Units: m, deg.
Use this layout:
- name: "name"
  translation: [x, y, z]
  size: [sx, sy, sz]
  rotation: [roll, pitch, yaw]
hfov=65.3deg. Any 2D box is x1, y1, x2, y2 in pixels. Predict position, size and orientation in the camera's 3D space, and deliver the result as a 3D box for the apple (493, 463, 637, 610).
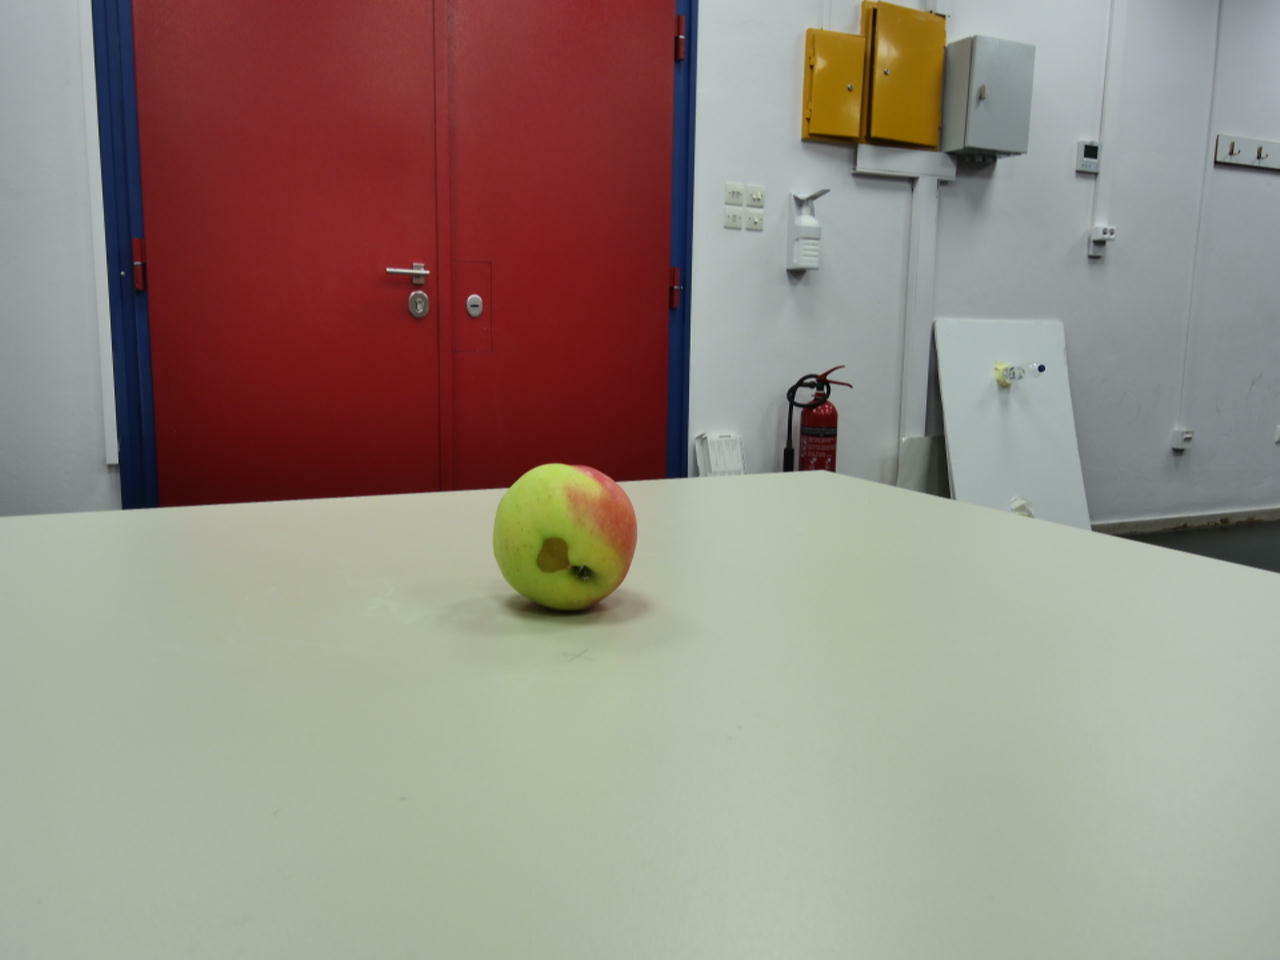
- name: "apple"
  translation: [-0.038, 0.029, 0.520]
  size: [0.075, 0.074, 0.075]
  rotation: [-6, 9, -44]
